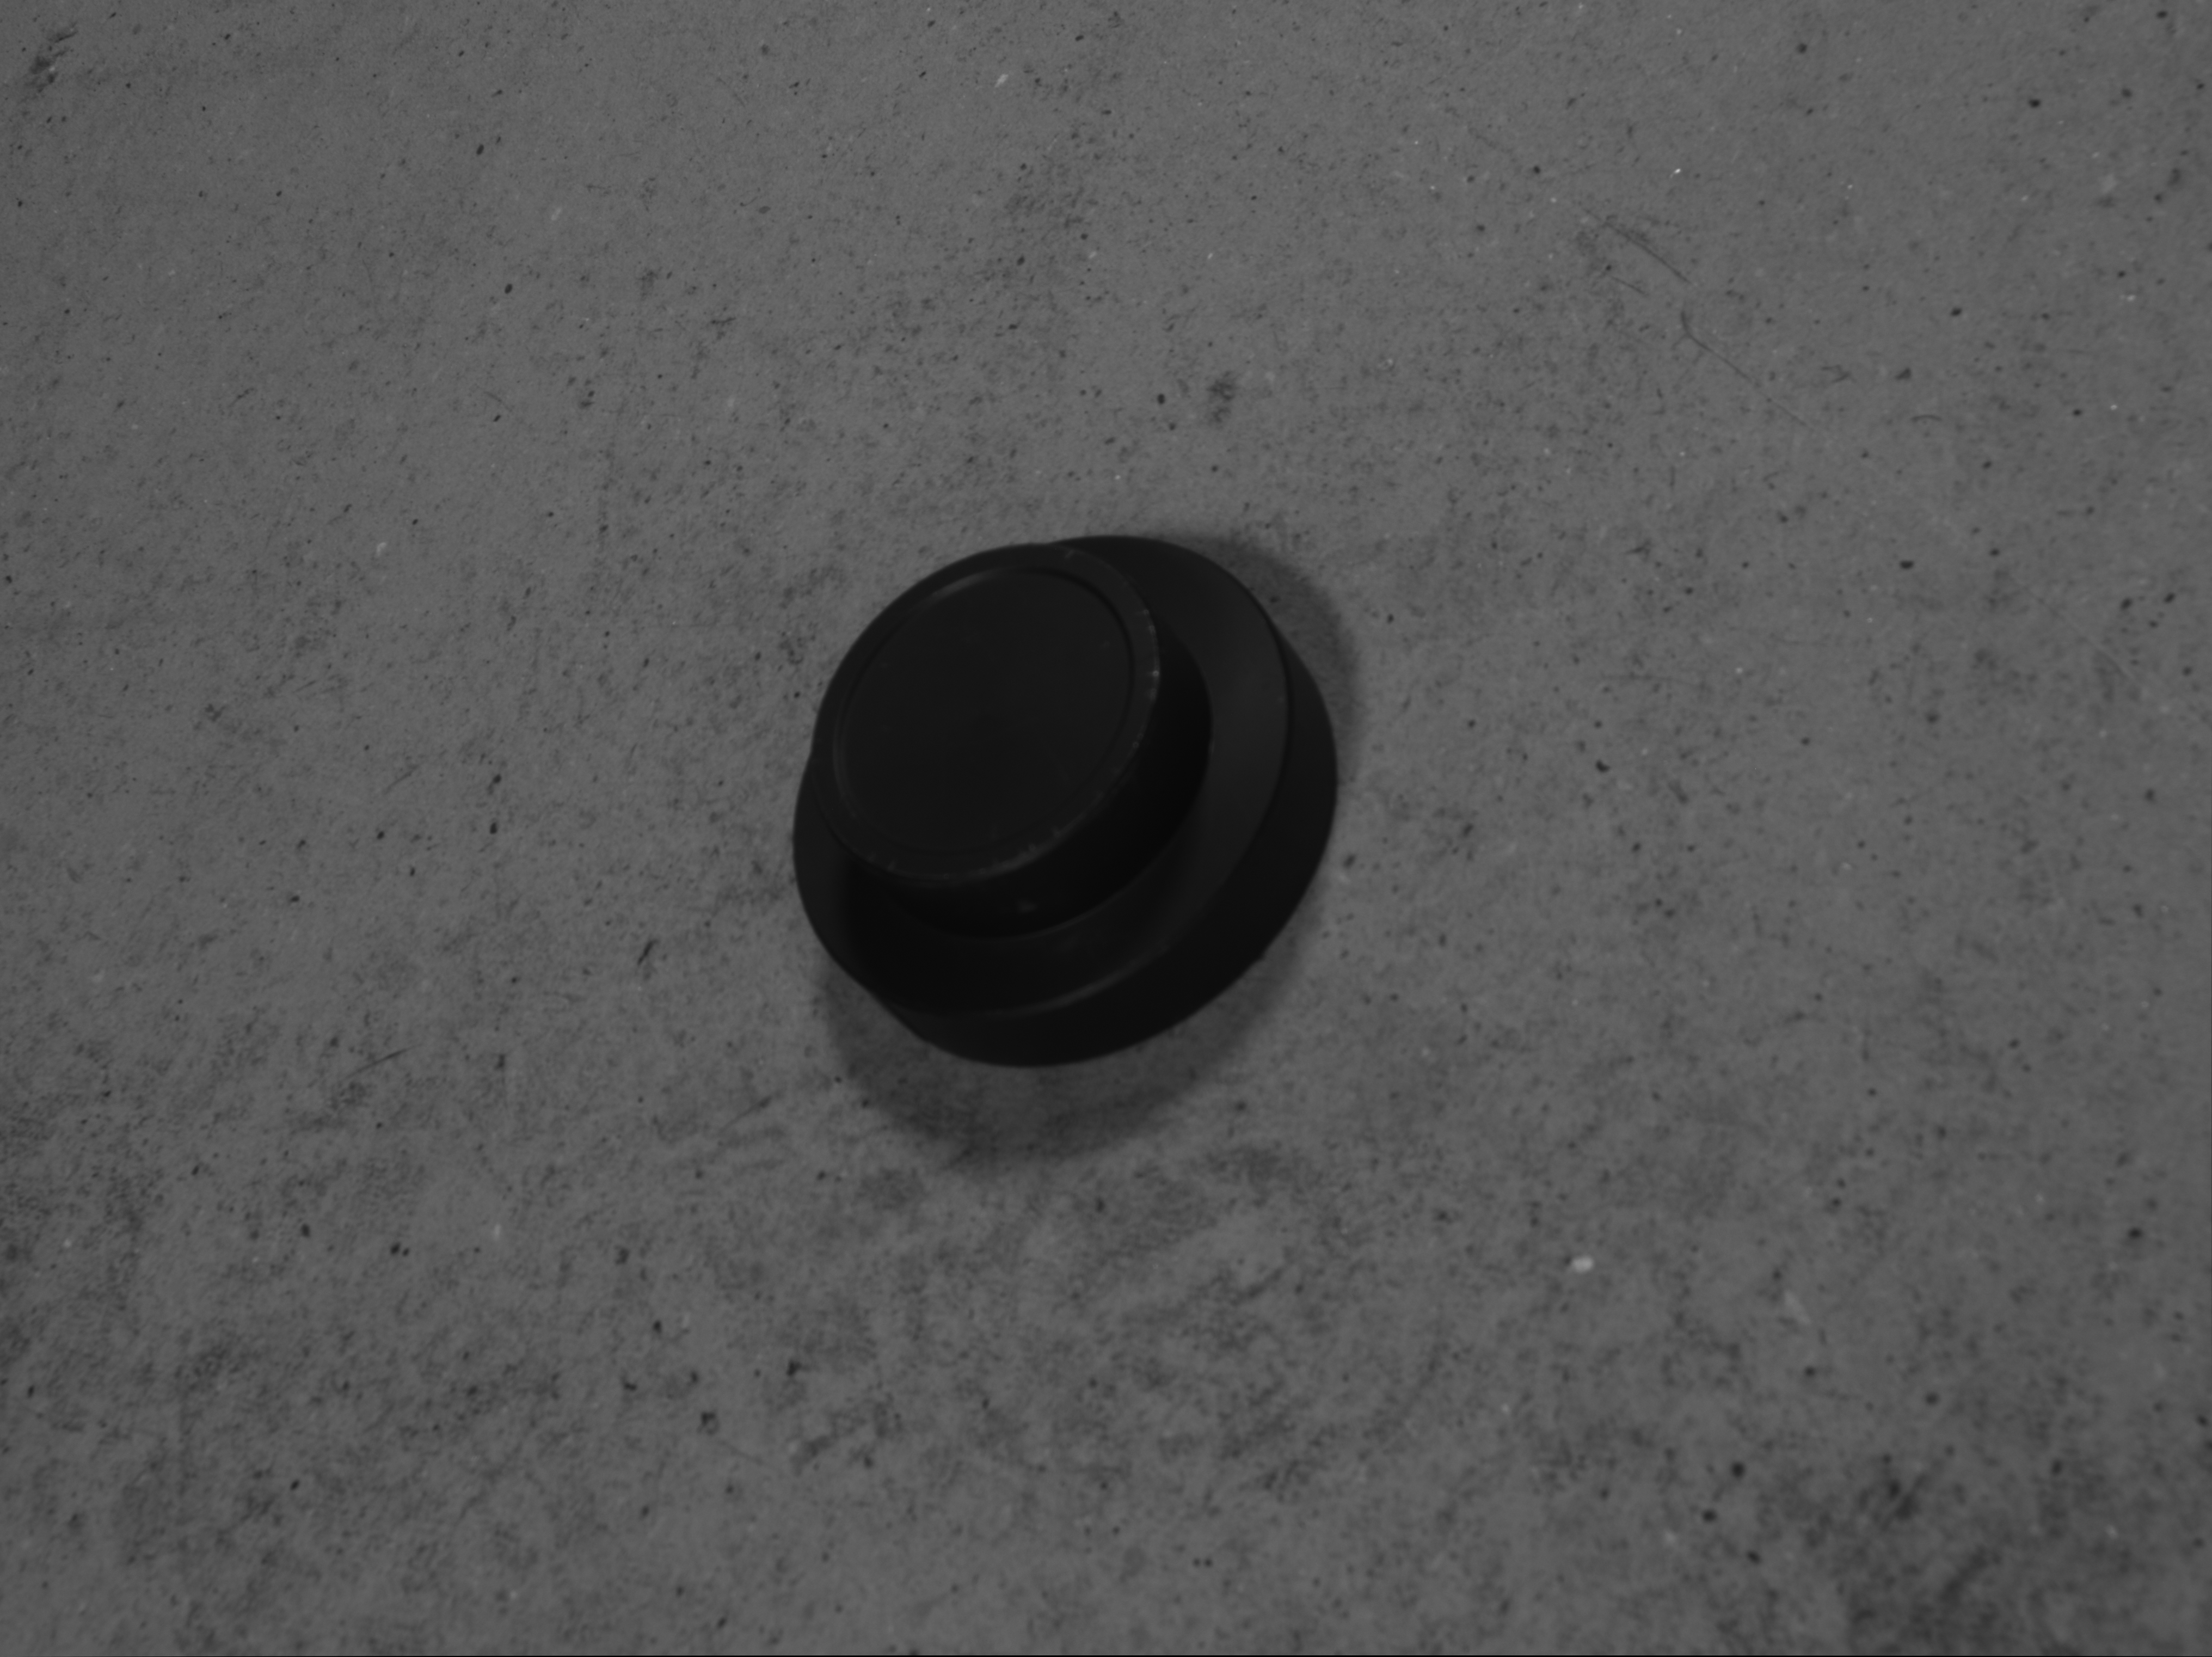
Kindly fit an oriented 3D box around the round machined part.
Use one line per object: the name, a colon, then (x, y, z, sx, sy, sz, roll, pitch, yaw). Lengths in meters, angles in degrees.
round machined part: (-0.010, -0.011, 0.645, 0.098, 0.042, 0.098, -13, 56, 21)
